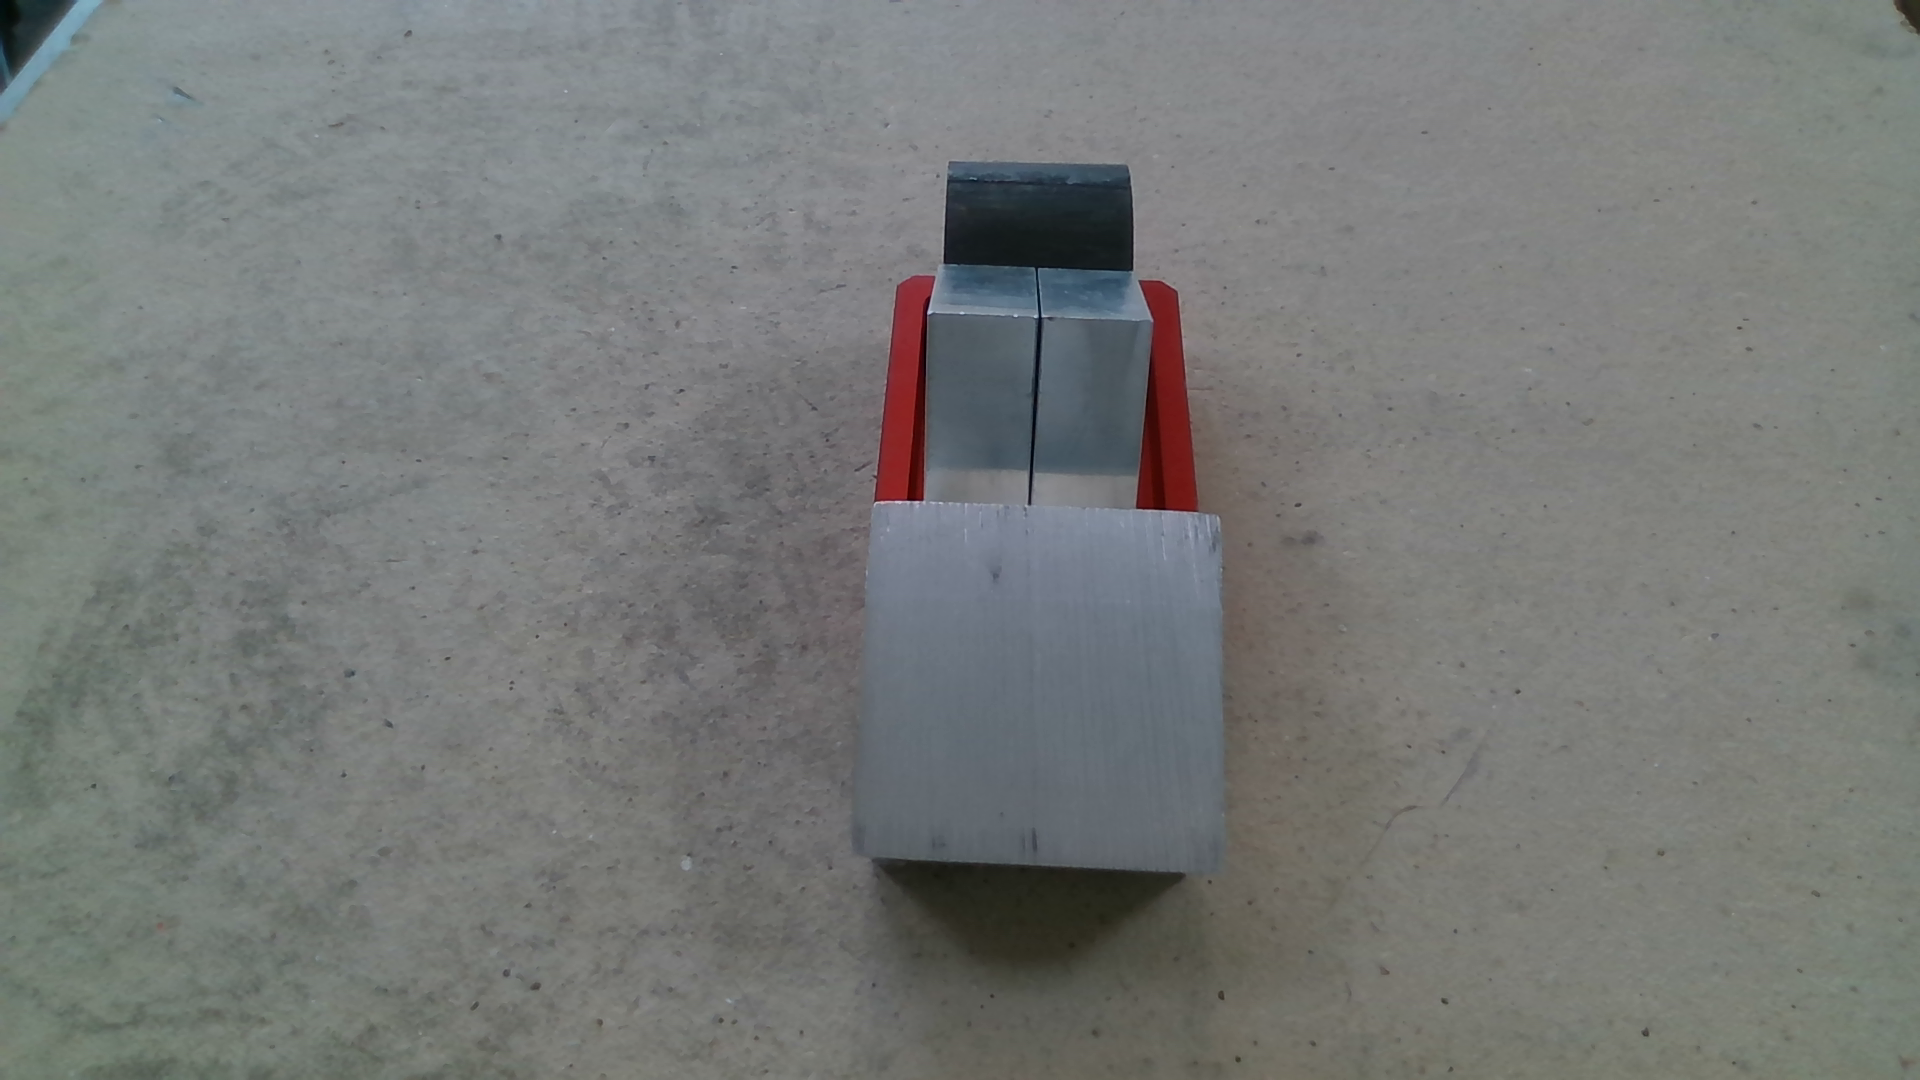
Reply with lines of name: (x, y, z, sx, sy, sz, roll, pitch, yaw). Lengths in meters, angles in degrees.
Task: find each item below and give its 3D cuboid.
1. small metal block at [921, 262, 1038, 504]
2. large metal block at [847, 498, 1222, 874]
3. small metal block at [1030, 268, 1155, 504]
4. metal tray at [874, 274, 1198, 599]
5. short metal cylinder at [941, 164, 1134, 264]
small metal block: (0.005, -0.038, 0.340, 0.025, 0.050, 0.050, 3, 24, 0)
large metal block: (0.018, 0.037, 0.328, 0.080, 0.050, 0.080, 2, 76, 2)
small metal block: (0.031, -0.037, 0.340, 0.025, 0.050, 0.050, 3, 24, 0)
metal tray: (0.022, -0.026, 0.412, 0.090, 0.030, 0.130, 2, 50, 1)
short metal cylinder: (0.021, -0.068, 0.398, 0.050, 0.080, 0.080, 1, 50, 1)
